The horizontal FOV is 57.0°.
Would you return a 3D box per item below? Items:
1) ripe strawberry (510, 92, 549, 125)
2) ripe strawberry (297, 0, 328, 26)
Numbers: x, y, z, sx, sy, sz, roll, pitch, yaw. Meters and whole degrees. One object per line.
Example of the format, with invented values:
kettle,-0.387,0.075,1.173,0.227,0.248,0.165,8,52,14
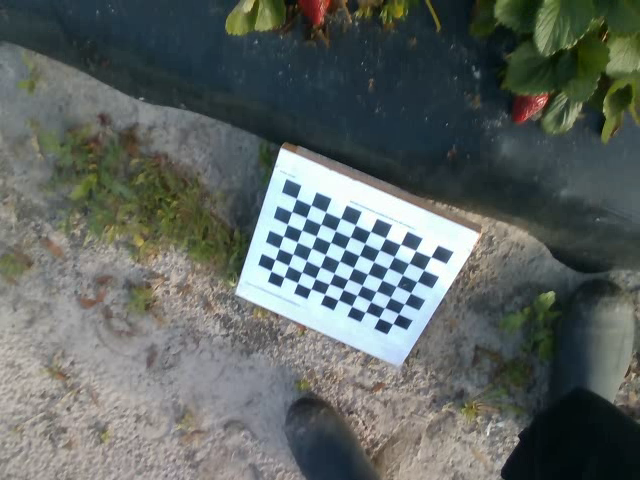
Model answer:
ripe strawberry,0.155,-0.101,0.437,0.029,0.036,0.021,27,24,5
ripe strawberry,-0.004,-0.175,0.431,0.031,0.030,0.025,-10,5,19
